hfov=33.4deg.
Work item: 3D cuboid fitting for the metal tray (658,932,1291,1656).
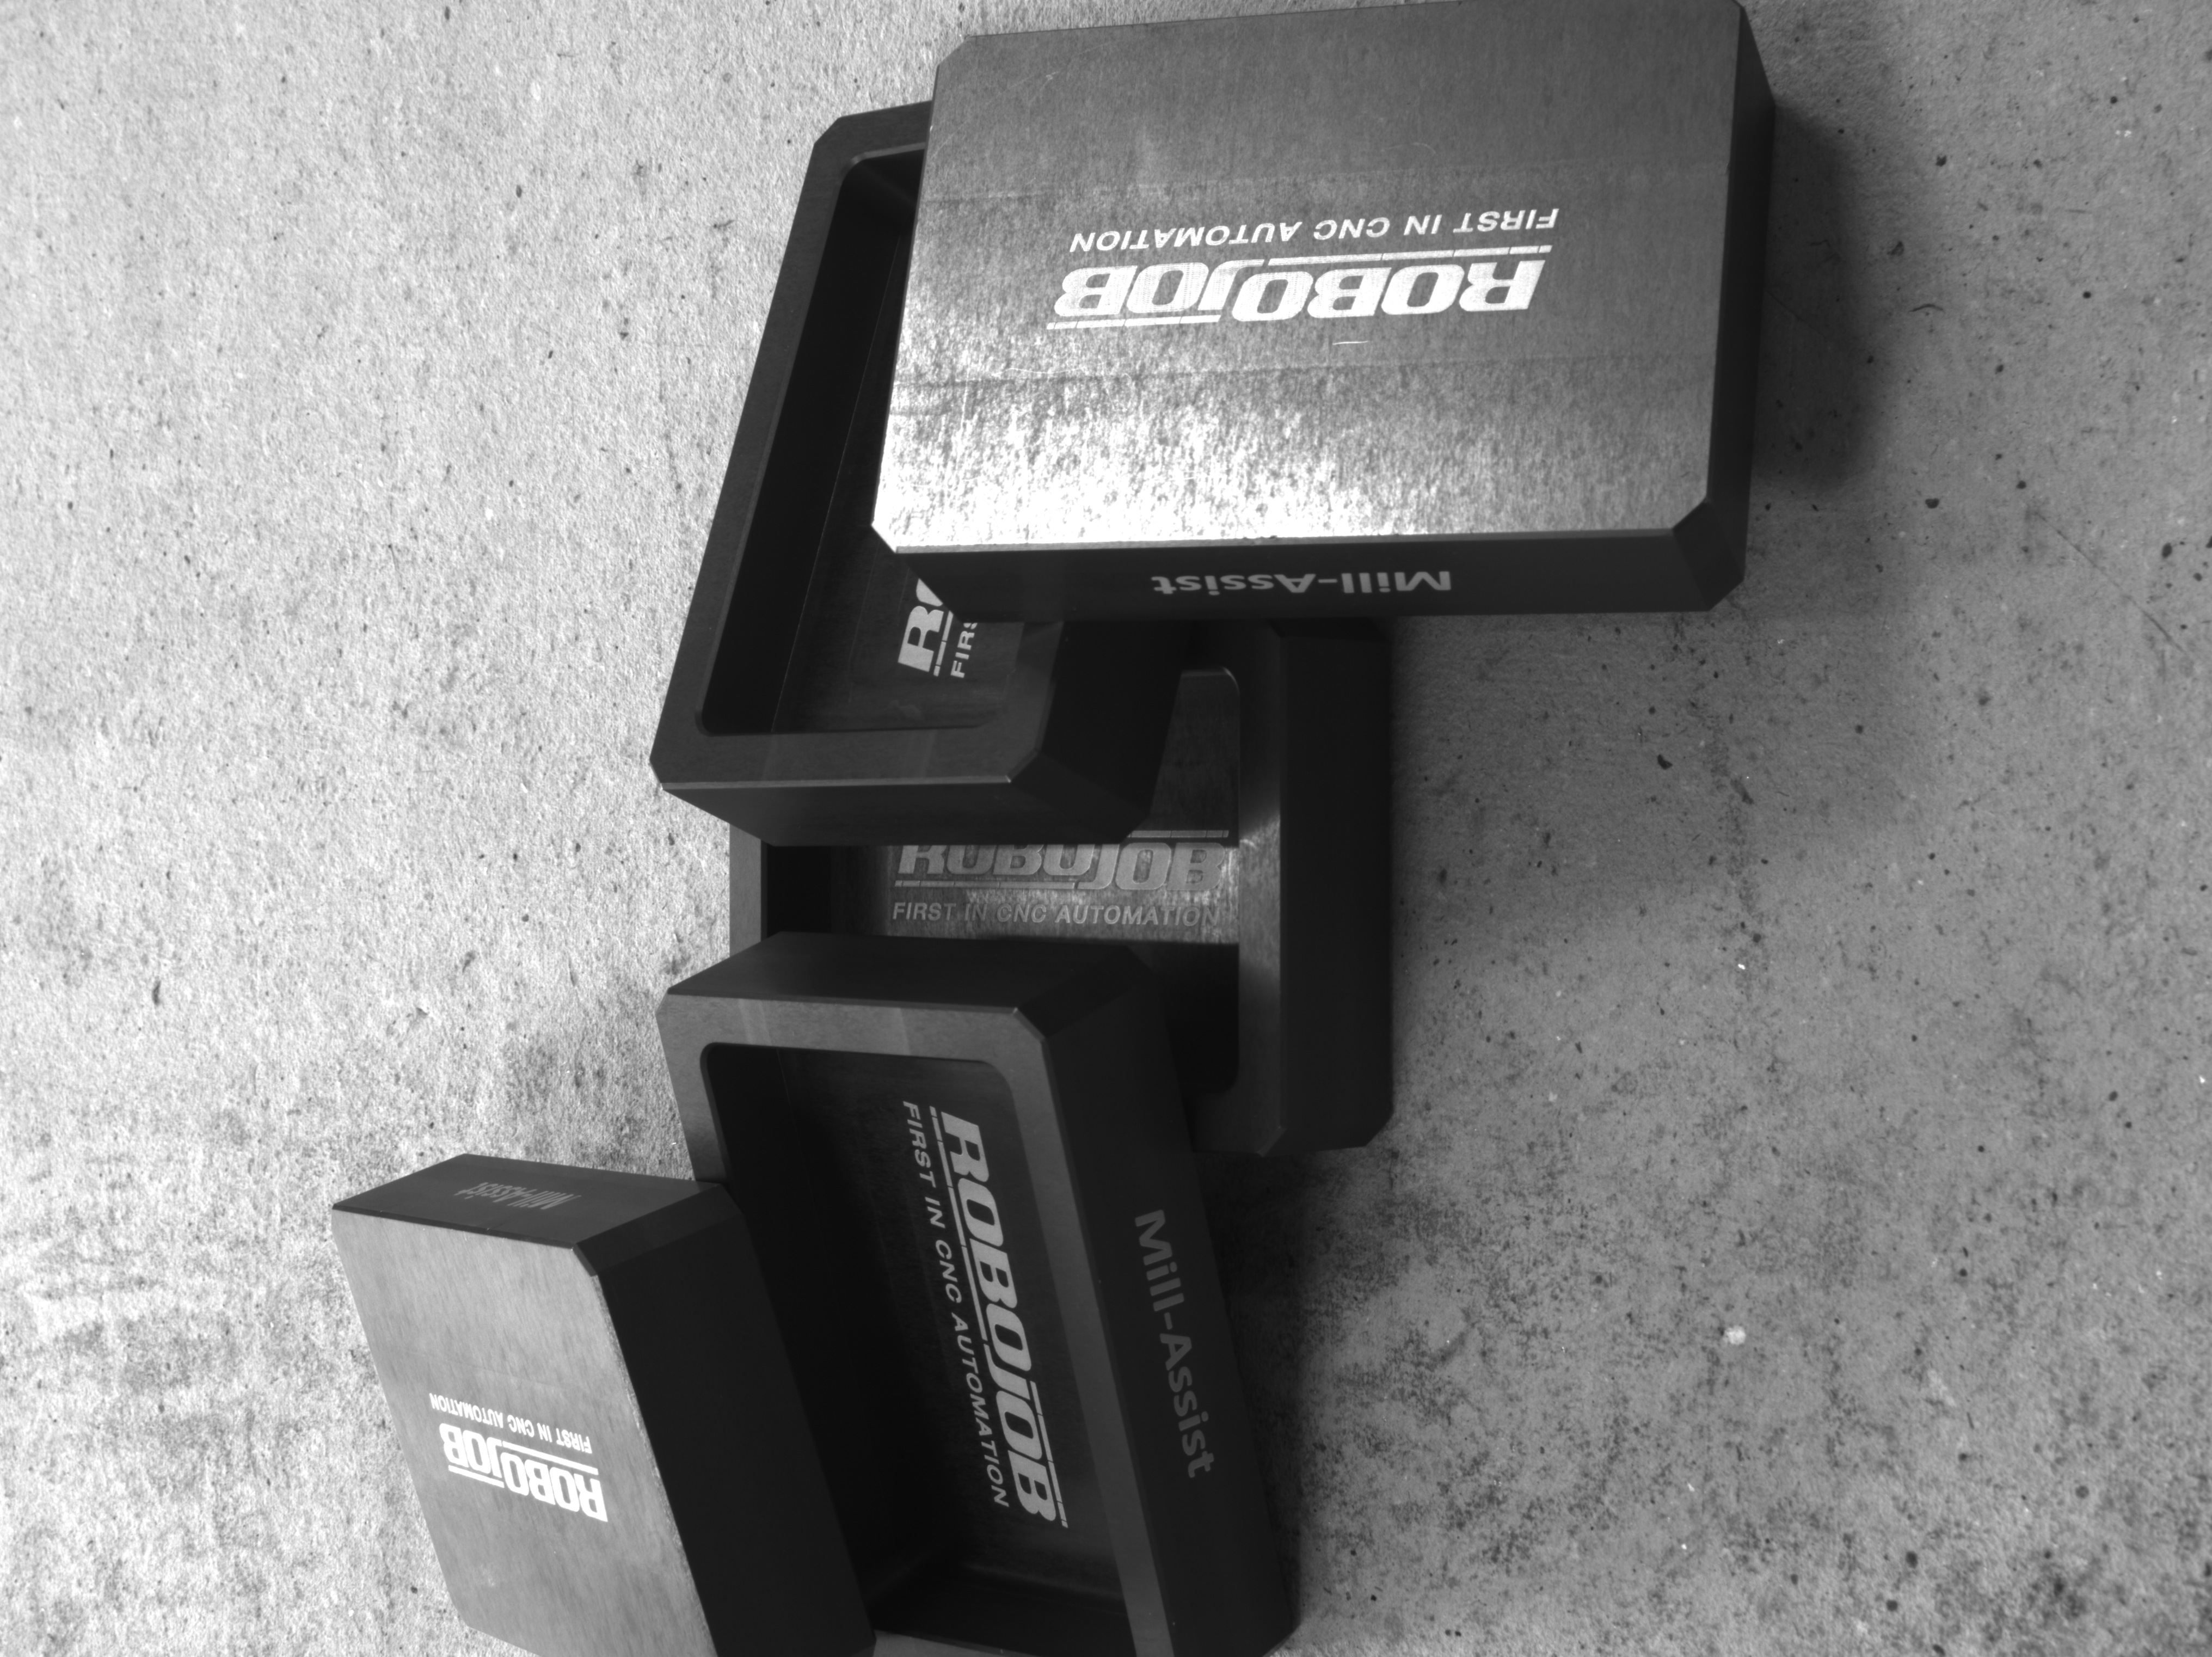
[{"bbox_3d":[-0.023,0.085,0.635,0.090,0.030,0.130,1,110,40],"label":"metal tray"}]

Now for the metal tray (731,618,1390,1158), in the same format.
[{"bbox_3d":[-0.011,0.009,0.652,0.130,0.030,0.090,0,90,40],"label":"metal tray"}]

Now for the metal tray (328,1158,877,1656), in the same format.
[{"bbox_3d":[-0.097,0.111,0.685,0.130,0.030,0.090,-4,104,58],"label":"metal tray"}]

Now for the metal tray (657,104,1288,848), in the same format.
[{"bbox_3d":[-0.022,-0.063,0.634,0.090,0.030,0.130,-1,70,40],"label":"metal tray"}]

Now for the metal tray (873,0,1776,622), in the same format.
[{"bbox_3d":[0.034,-0.080,0.571,0.130,0.030,0.090,0,71,19],"label":"metal tray"}]
